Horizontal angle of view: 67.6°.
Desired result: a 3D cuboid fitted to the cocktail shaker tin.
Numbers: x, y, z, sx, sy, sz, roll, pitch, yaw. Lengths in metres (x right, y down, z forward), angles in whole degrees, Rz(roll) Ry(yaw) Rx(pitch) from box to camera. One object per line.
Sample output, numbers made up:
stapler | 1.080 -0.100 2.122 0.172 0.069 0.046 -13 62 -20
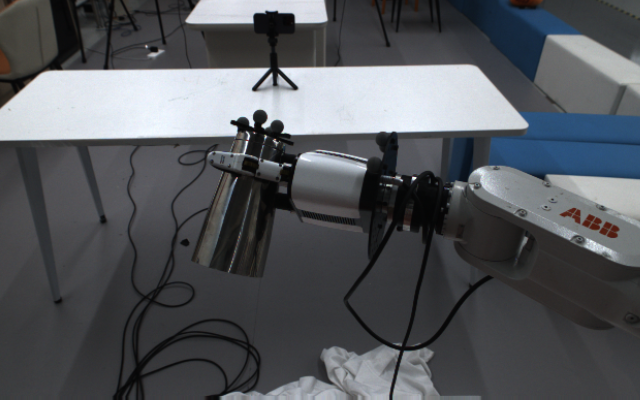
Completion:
cocktail shaker tin | -0.095 0.002 0.616 0.093 0.170 0.093 15 -5 1
